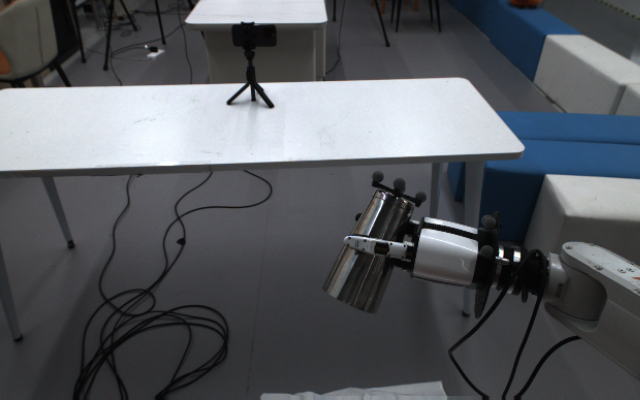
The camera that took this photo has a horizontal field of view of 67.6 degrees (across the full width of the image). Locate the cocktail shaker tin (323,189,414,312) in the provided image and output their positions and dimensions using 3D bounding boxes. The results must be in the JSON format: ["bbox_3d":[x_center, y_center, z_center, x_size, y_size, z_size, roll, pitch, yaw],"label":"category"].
[{"bbox_3d":[0.081,0.072,0.736,0.093,0.170,0.093,23,0,0],"label":"cocktail shaker tin"}]
